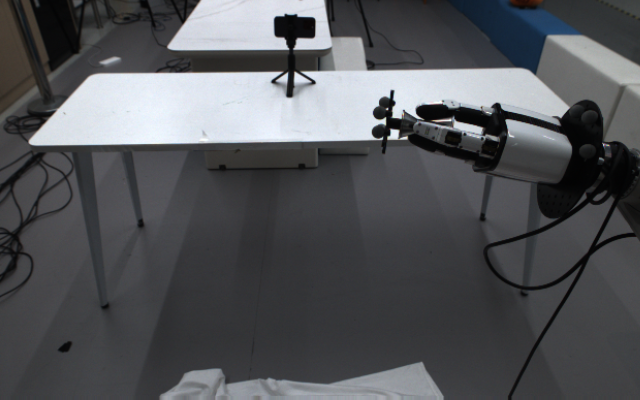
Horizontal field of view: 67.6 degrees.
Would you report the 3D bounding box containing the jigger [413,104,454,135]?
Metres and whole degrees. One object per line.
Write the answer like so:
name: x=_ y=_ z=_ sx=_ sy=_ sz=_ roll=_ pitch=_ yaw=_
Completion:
jigger: x=0.150 y=-0.103 z=0.658 sx=0.071 sy=0.043 sz=0.043 roll=8 pitch=35 yaw=9
